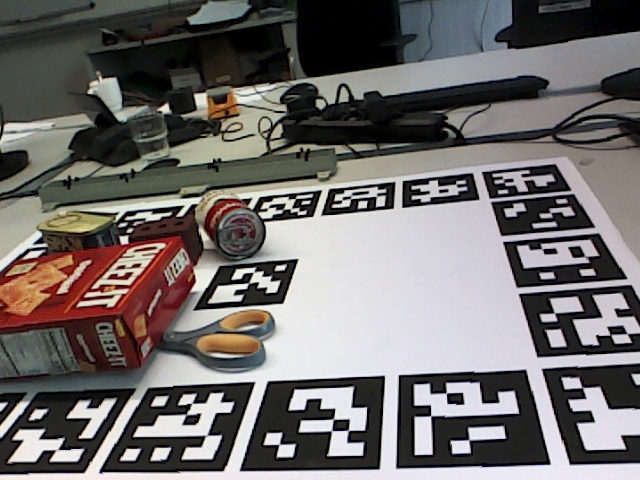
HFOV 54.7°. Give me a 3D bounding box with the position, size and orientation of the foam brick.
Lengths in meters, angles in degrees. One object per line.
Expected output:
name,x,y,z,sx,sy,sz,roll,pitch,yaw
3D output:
foam brick,-0.199,0.006,0.802,0.078,0.051,0.053,-10,28,2

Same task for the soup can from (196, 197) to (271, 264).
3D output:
soup can,-0.116,-0.015,0.809,0.067,0.068,0.103,-23,24,-22

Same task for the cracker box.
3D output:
cracker box,-0.266,0.070,0.648,0.214,0.072,0.164,-11,26,8

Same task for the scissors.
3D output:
scissors,-0.153,0.104,0.609,0.203,0.016,0.088,-7,28,7

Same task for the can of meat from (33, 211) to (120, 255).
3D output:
can of meat,-0.300,0.013,0.784,0.102,0.083,0.058,2,30,23
